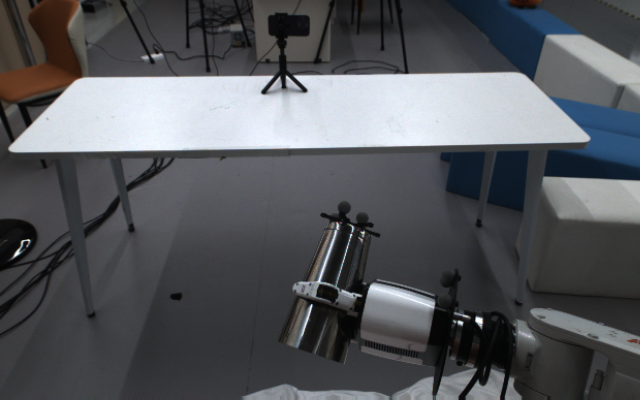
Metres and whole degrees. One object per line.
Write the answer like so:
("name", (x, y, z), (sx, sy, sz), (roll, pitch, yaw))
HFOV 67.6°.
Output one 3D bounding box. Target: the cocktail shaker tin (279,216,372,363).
("cocktail shaker tin", (0.014, 0.121, 0.647), (0.093, 0.093, 0.170), (14, 73, 17))
